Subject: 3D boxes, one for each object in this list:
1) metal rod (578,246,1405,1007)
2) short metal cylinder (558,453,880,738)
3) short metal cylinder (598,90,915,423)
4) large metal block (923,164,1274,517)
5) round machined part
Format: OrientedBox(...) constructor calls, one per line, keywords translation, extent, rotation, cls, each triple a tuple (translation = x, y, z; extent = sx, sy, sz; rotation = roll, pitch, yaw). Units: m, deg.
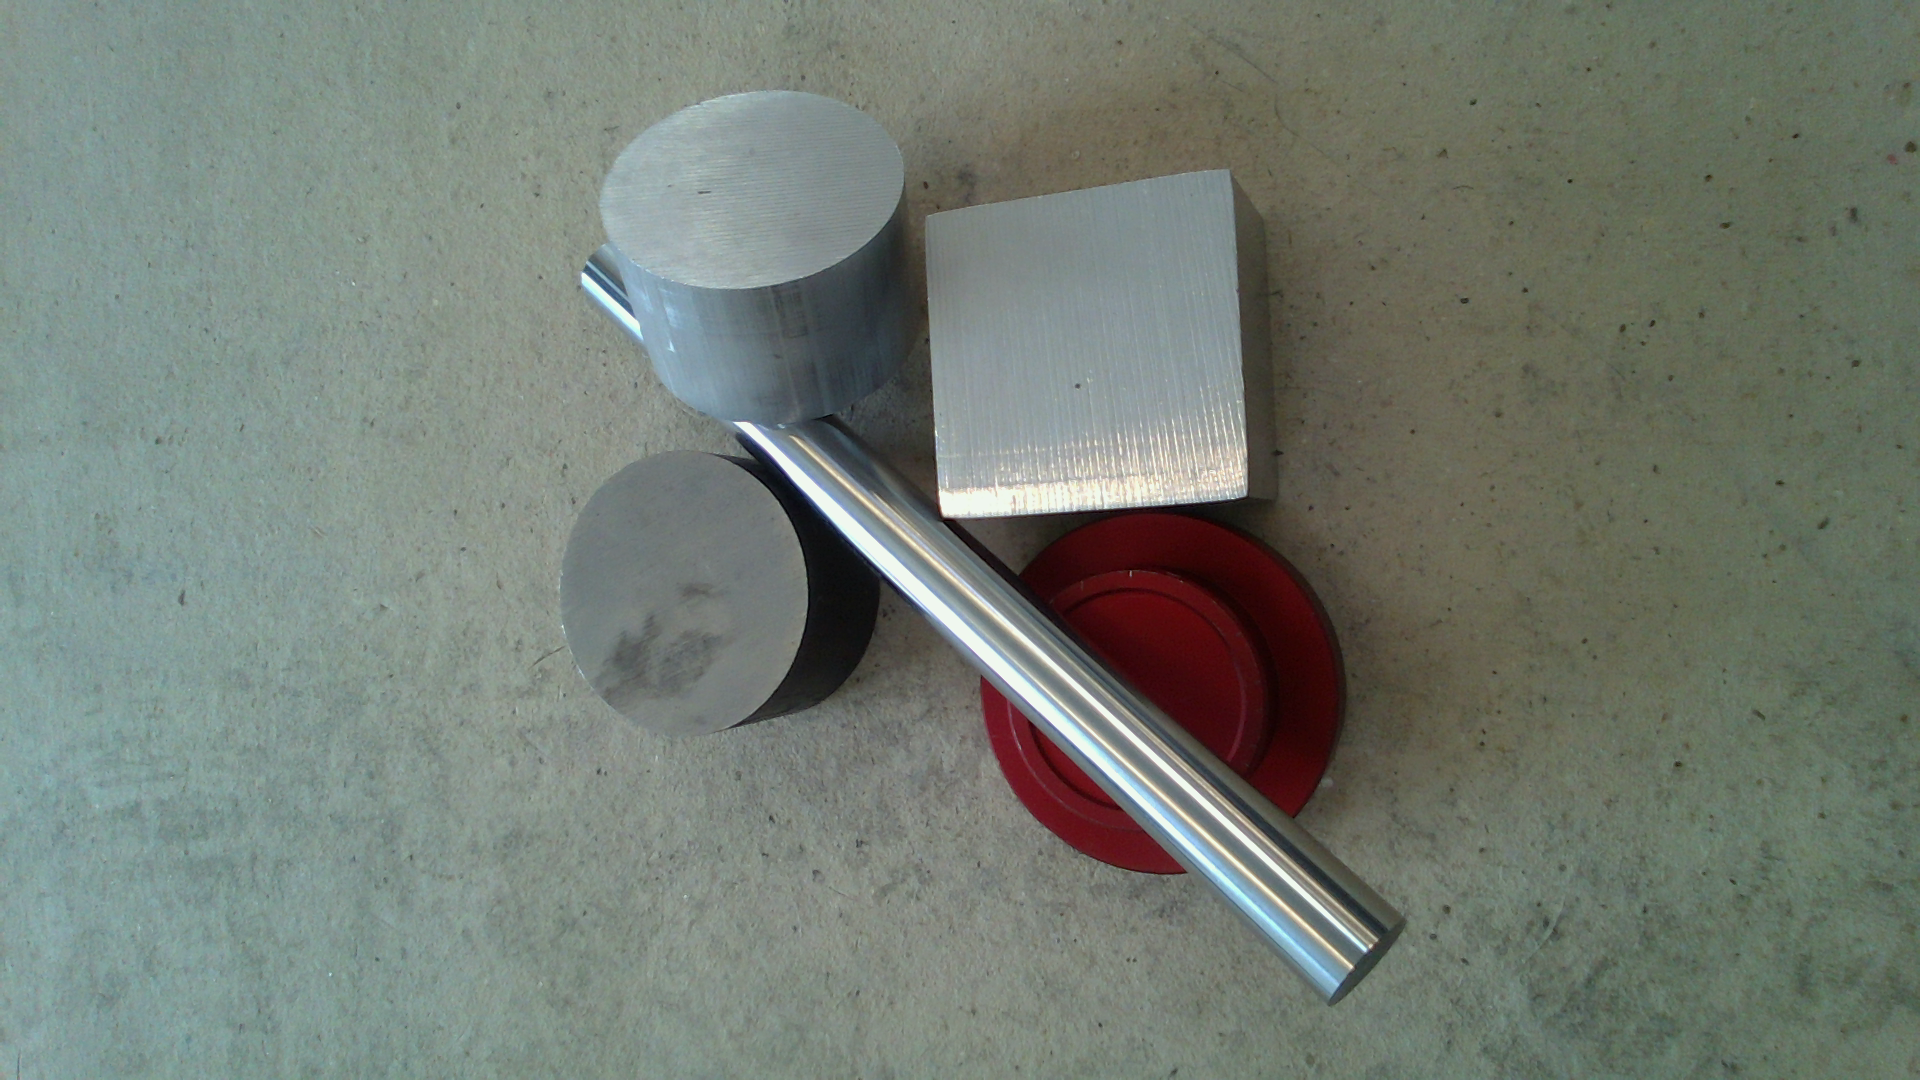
OrientedBox(translation=(-0.012, 0.003, 0.364), extent=(0.299, 0.025, 0.025), rotation=(42, 104, 29), cls="metal rod")
OrientedBox(translation=(-0.070, 0.015, 0.409), extent=(0.080, 0.050, 0.080), rotation=(0, 90, 20), cls="short metal cylinder")
OrientedBox(translation=(-0.054, -0.079, 0.382), extent=(0.080, 0.050, 0.080), rotation=(-1, 53, 2), cls="short metal cylinder")
OrientedBox(translation=(0.039, -0.048, 0.367), extent=(0.080, 0.050, 0.080), rotation=(-3, 89, 20), cls="large metal block")
OrientedBox(translation=(0.050, 0.042, 0.368), extent=(0.098, 0.042, 0.098), rotation=(0, 90, 20), cls="round machined part")
